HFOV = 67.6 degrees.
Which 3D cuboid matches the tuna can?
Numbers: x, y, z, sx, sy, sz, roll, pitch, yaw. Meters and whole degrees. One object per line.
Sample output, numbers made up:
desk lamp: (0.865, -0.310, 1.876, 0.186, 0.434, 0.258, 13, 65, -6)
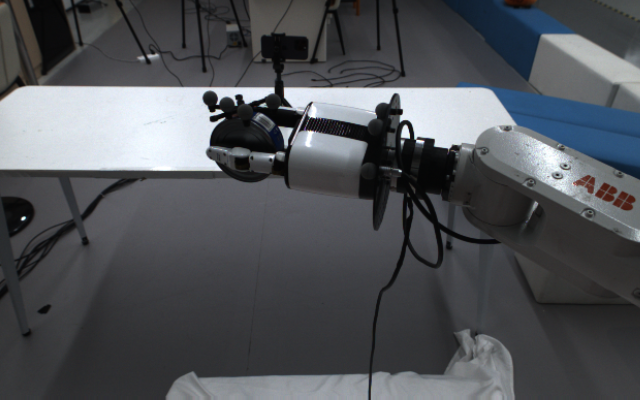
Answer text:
tuna can: (-0.087, -0.067, 0.592, 0.085, 0.085, 0.034, 11, 34, 12)
